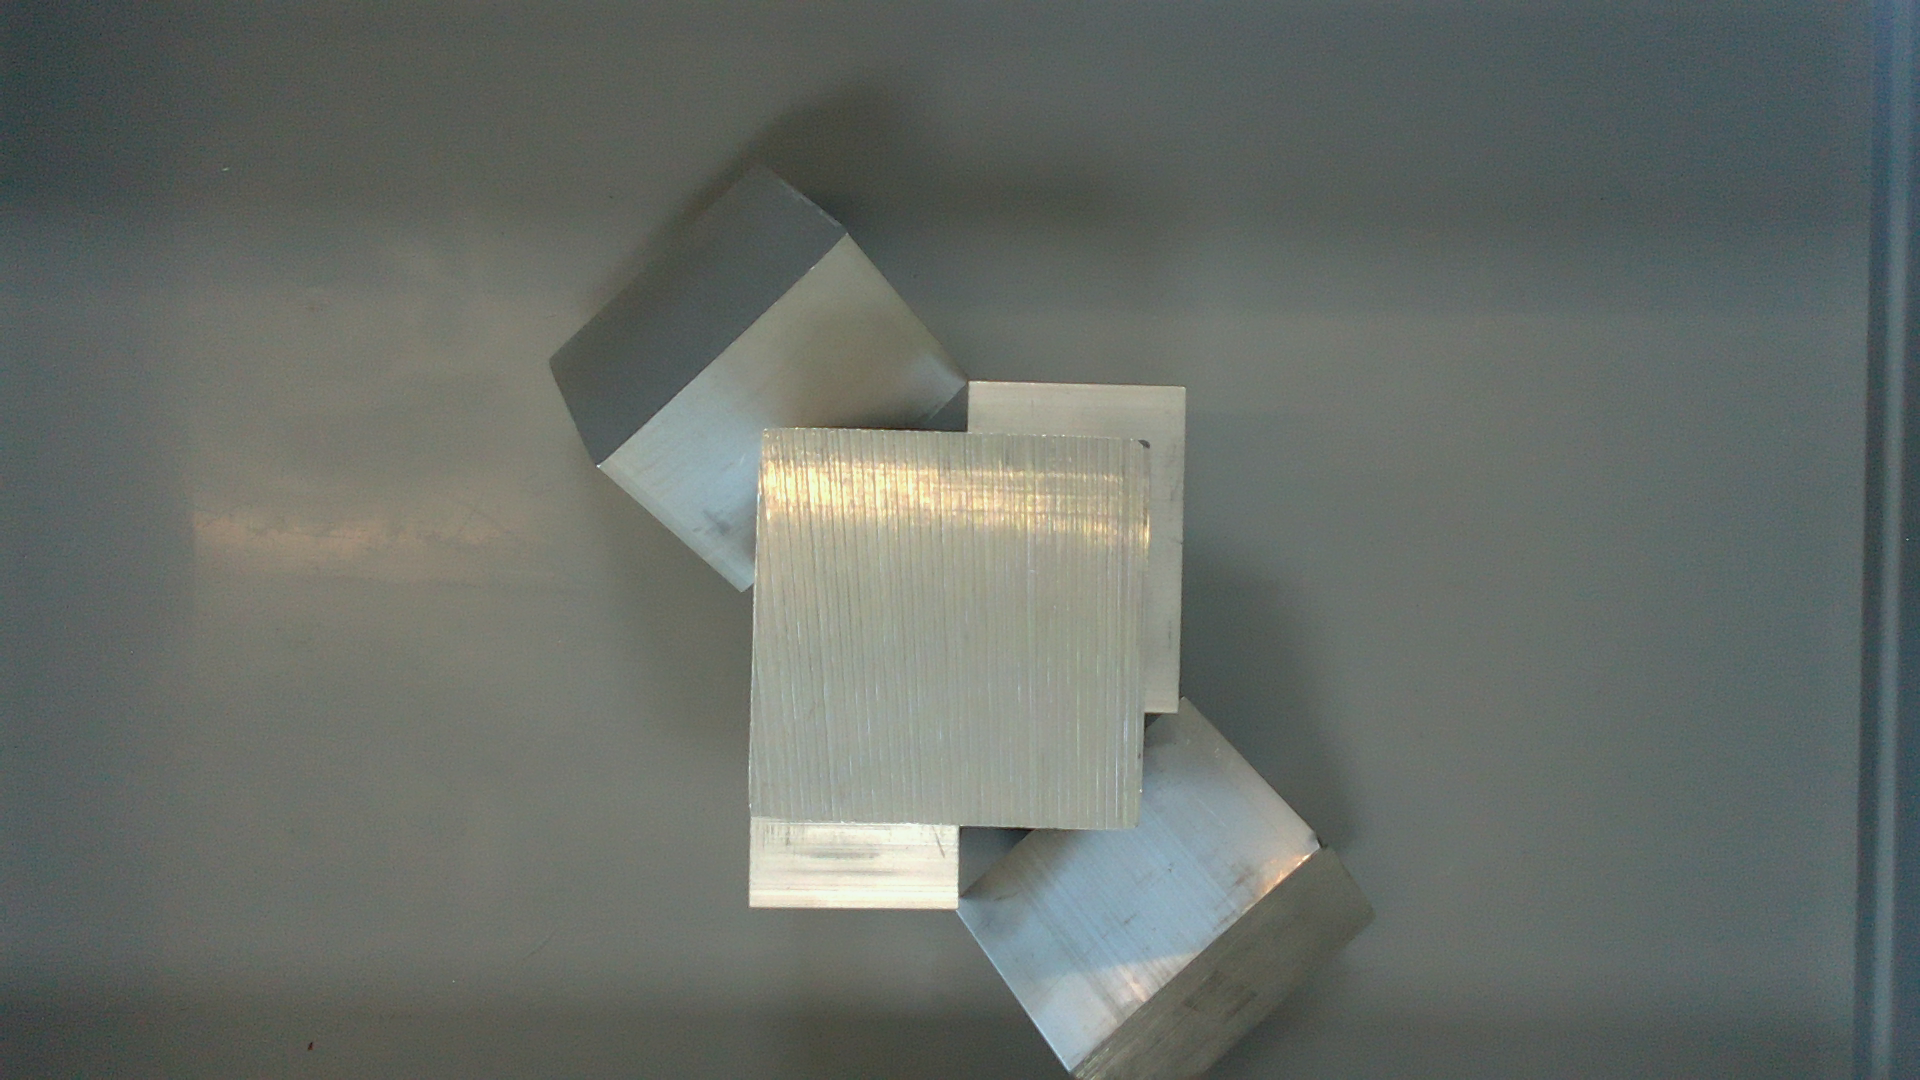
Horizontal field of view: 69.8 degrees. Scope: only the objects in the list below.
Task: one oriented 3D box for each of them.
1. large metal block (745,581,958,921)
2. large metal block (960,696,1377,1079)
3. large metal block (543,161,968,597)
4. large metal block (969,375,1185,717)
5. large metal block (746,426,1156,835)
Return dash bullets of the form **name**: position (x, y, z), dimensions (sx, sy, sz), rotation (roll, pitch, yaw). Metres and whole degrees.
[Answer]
- **large metal block**: position (-0.026, 0.050, 0.367), dimensions (0.050, 0.080, 0.080), rotation (1, 90, 0)
- **large metal block**: position (0.056, 0.098, 0.360), dimensions (0.080, 0.080, 0.050), rotation (-41, 55, 0)
- **large metal block**: position (-0.055, -0.045, 0.359), dimensions (0.080, 0.080, 0.050), rotation (-43, 125, 0)
- **large metal block**: position (0.028, 0.001, 0.366), dimensions (0.050, 0.080, 0.080), rotation (1, 90, 0)
- **large metal block**: position (-0.002, 0.018, 0.301), dimensions (0.080, 0.050, 0.080), rotation (2, 90, 0)
